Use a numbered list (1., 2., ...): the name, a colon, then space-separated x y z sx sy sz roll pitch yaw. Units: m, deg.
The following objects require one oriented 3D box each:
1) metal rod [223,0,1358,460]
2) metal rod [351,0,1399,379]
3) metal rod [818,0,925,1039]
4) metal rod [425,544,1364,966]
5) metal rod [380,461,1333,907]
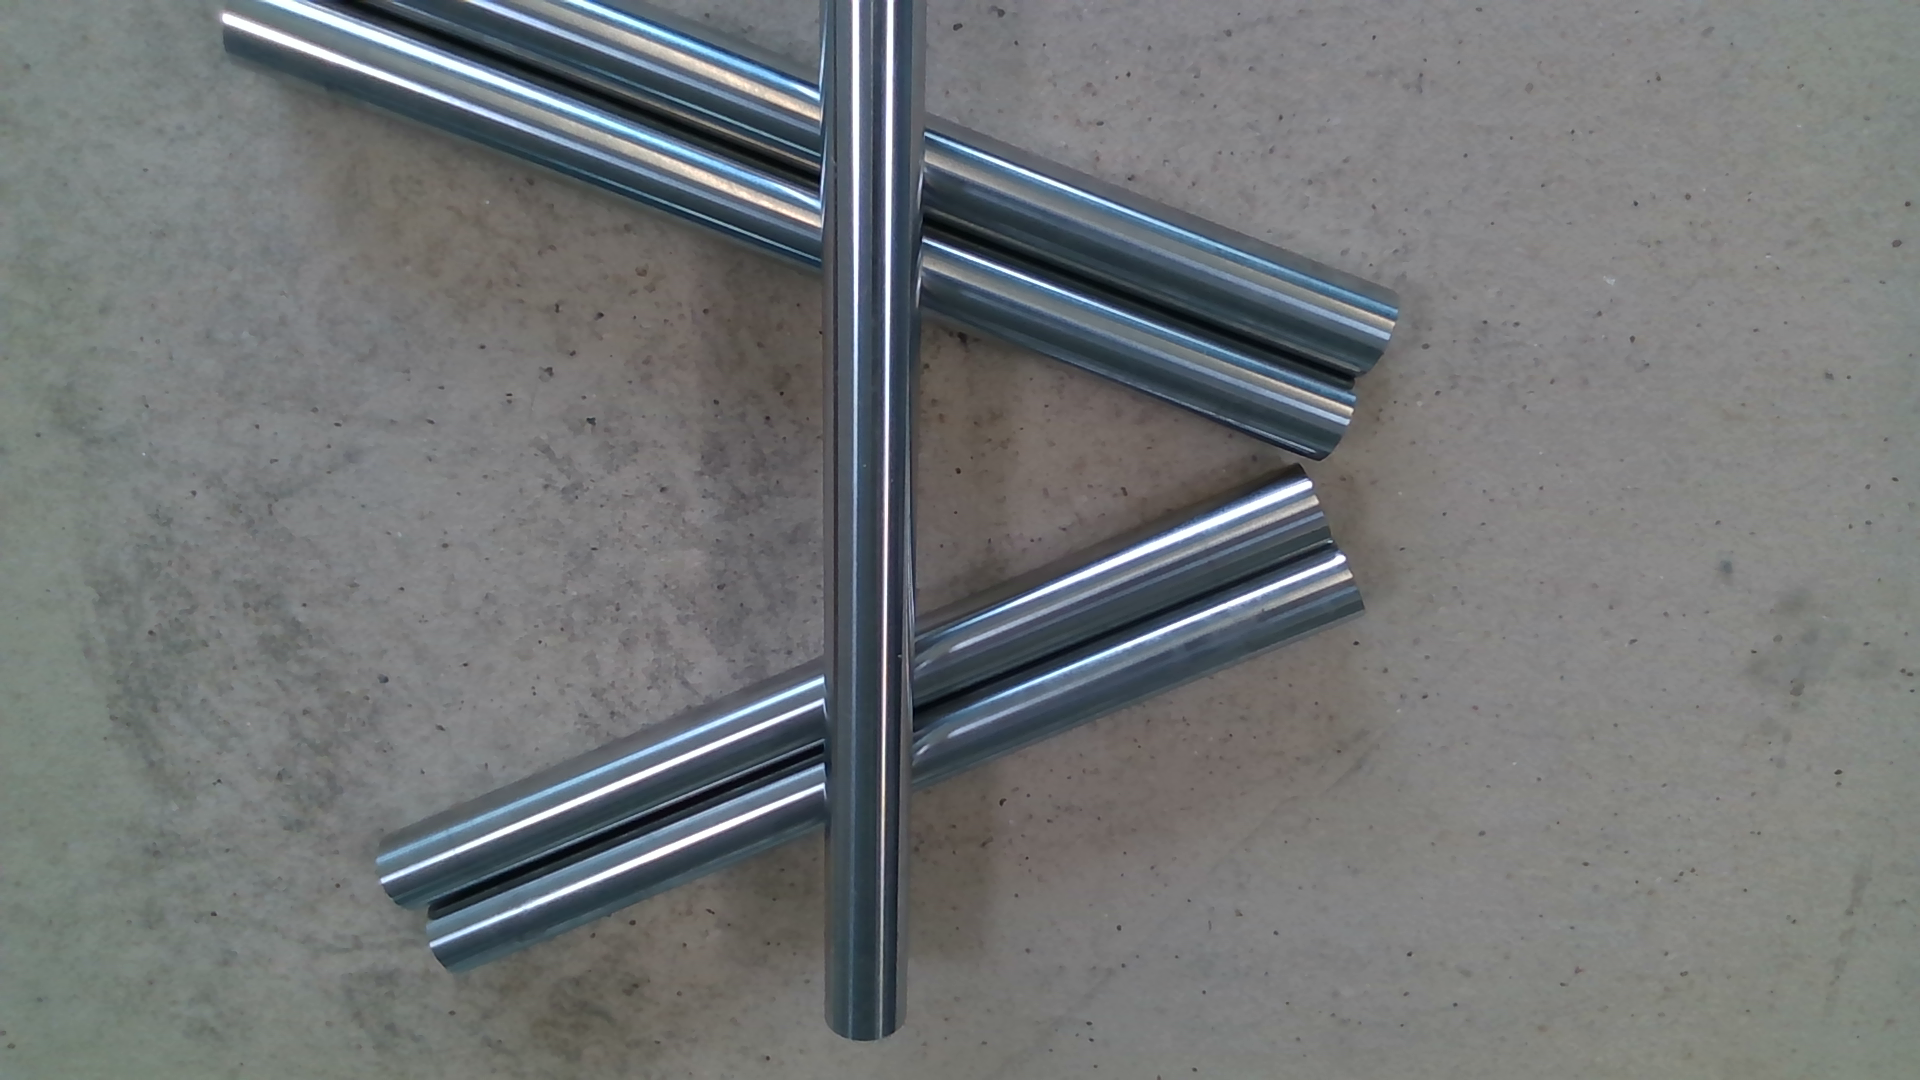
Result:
1. metal rod: -0.037 -0.082 0.363 0.300 0.025 0.025 19 109 -7
2. metal rod: -0.029 -0.104 0.355 0.300 0.025 0.025 19 109 -7
3. metal rod: -0.024 0.003 0.368 0.025 0.025 0.301 2 110 -1
4. metal rod: -0.026 0.067 0.419 0.300 0.025 0.025 -23 108 8
5. metal rod: -0.036 0.046 0.411 0.300 0.025 0.025 -23 108 8
